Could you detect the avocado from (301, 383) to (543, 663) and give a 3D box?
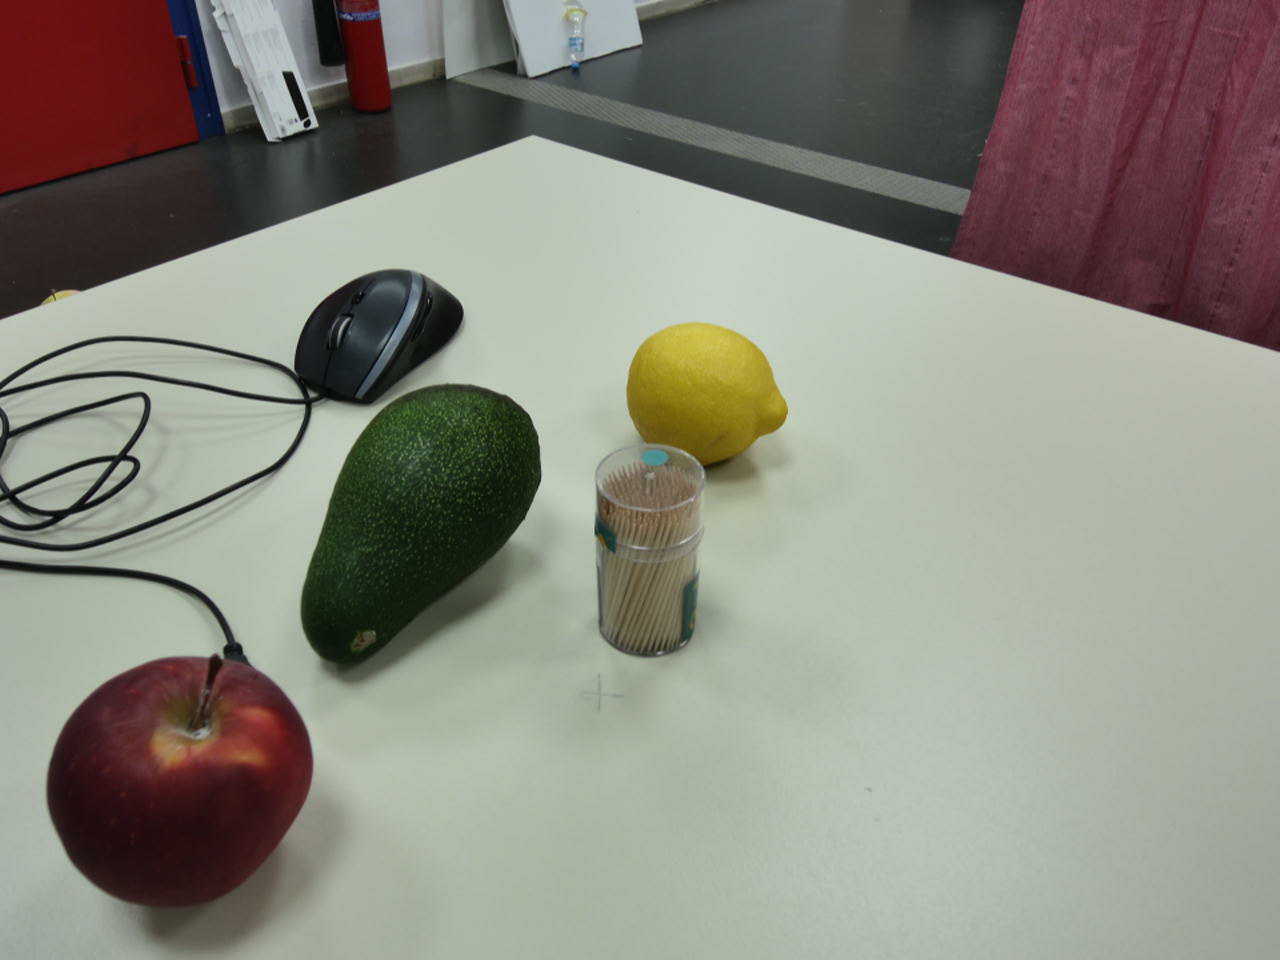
[{"bbox_3d":[-0.091,0.007,0.395,0.074,0.076,0.123,30,44,34],"label":"avocado"}]
